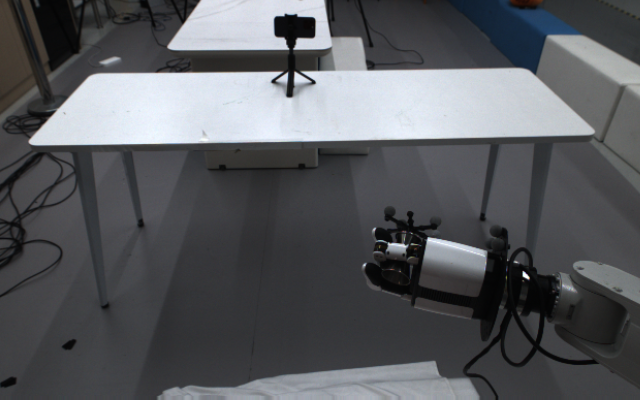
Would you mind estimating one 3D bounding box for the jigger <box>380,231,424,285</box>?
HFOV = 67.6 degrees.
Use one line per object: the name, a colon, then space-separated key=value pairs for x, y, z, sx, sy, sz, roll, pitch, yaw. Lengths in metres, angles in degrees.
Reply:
jigger: x=0.123 y=0.083 z=0.706 sx=0.043 sy=0.043 sz=0.071 roll=13 pitch=58 yaw=15
